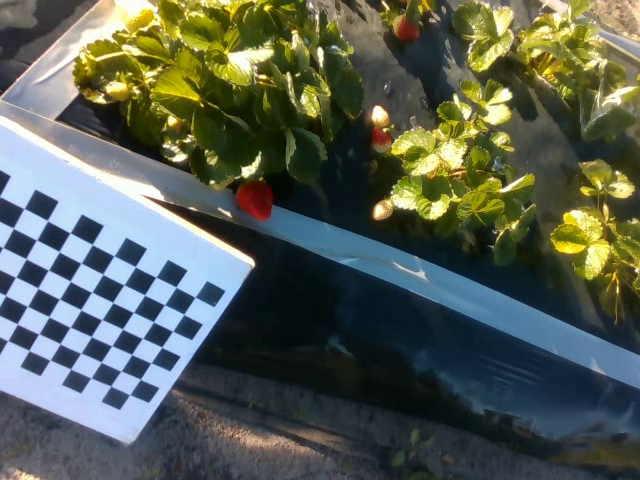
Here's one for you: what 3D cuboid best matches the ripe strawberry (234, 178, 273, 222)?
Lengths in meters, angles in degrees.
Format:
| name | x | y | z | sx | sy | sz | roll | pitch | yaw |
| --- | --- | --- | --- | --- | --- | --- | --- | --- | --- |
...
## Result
| name | x | y | z | sx | sy | sz | roll | pitch | yaw |
| --- | --- | --- | --- | --- | --- | --- | --- | --- | --- |
| ripe strawberry | -0.071 | -0.044 | 0.655 | 0.045 | 0.063 | 0.048 | -31 | -38 | 5 |
